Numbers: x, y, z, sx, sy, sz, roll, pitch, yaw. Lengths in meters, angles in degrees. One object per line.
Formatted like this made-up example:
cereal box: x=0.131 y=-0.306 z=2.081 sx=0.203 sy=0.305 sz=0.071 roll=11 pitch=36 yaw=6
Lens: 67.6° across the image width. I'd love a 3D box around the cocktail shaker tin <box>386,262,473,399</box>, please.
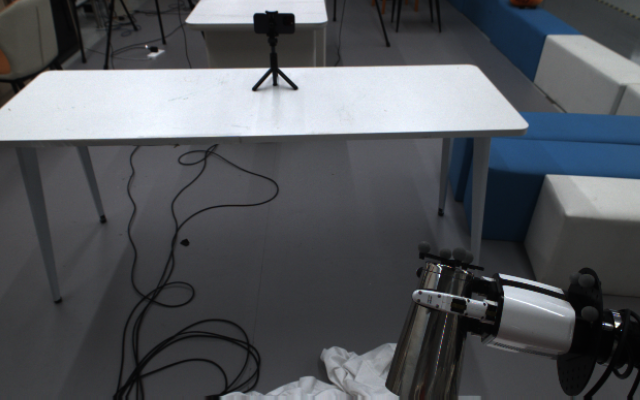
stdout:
cocktail shaker tin: x=0.152 y=0.169 z=0.638 sx=0.093 sy=0.170 sz=0.093 roll=15 pitch=-5 yaw=1
